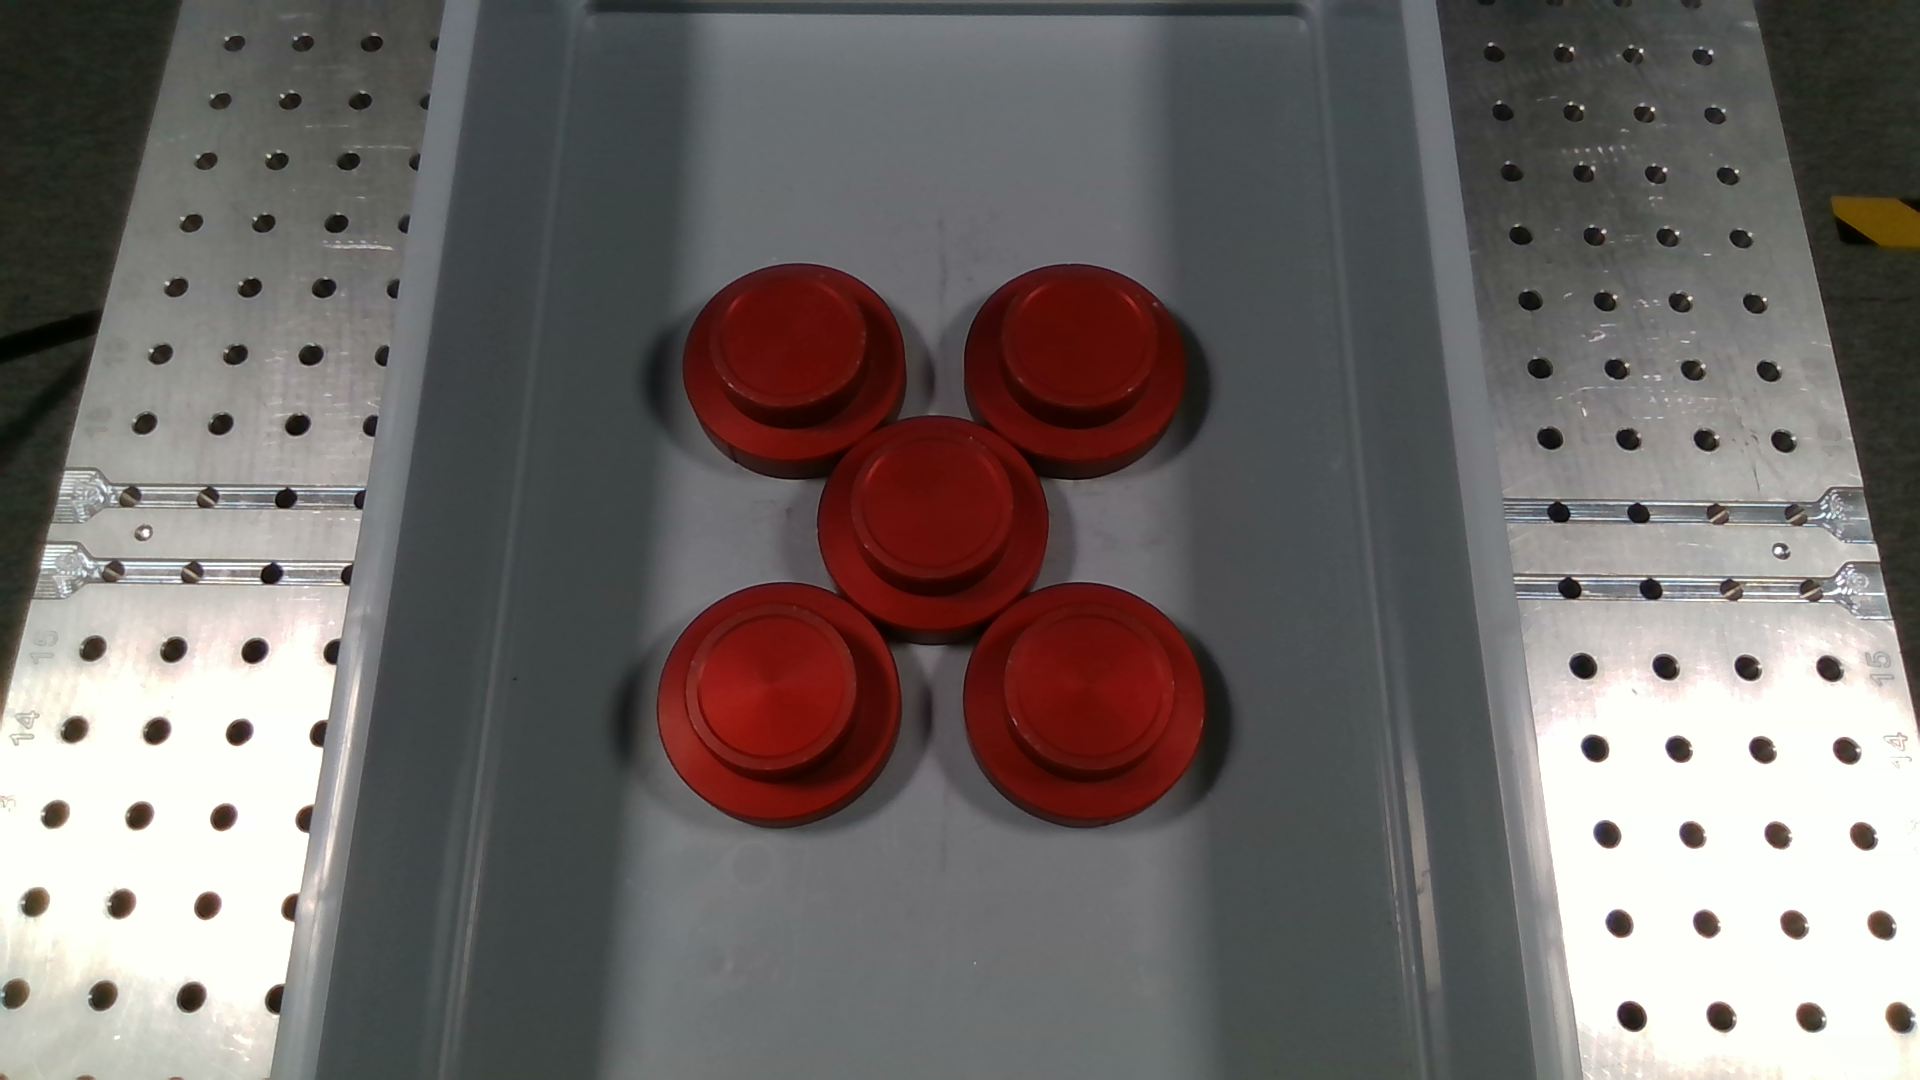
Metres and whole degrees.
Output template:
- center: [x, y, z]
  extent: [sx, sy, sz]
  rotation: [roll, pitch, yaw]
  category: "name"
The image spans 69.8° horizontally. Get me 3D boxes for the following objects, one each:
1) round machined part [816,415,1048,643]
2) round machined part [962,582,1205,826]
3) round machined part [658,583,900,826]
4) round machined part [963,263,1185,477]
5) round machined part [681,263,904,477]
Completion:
- center: [-0.012, -0.009, 0.580]
  extent: [0.098, 0.042, 0.098]
  rotation: [0, 70, 0]
  category: "round machined part"
- center: [0.050, 0.063, 0.556]
  extent: [0.098, 0.042, 0.098]
  rotation: [0, 70, 0]
  category: "round machined part"
- center: [-0.073, 0.063, 0.556]
  extent: [0.098, 0.042, 0.098]
  rotation: [0, 70, 0]
  category: "round machined part"
- center: [0.050, -0.080, 0.607]
  extent: [0.098, 0.042, 0.098]
  rotation: [0, 70, 0]
  category: "round machined part"
- center: [-0.074, -0.080, 0.607]
  extent: [0.098, 0.042, 0.098]
  rotation: [0, 70, 0]
  category: "round machined part"
